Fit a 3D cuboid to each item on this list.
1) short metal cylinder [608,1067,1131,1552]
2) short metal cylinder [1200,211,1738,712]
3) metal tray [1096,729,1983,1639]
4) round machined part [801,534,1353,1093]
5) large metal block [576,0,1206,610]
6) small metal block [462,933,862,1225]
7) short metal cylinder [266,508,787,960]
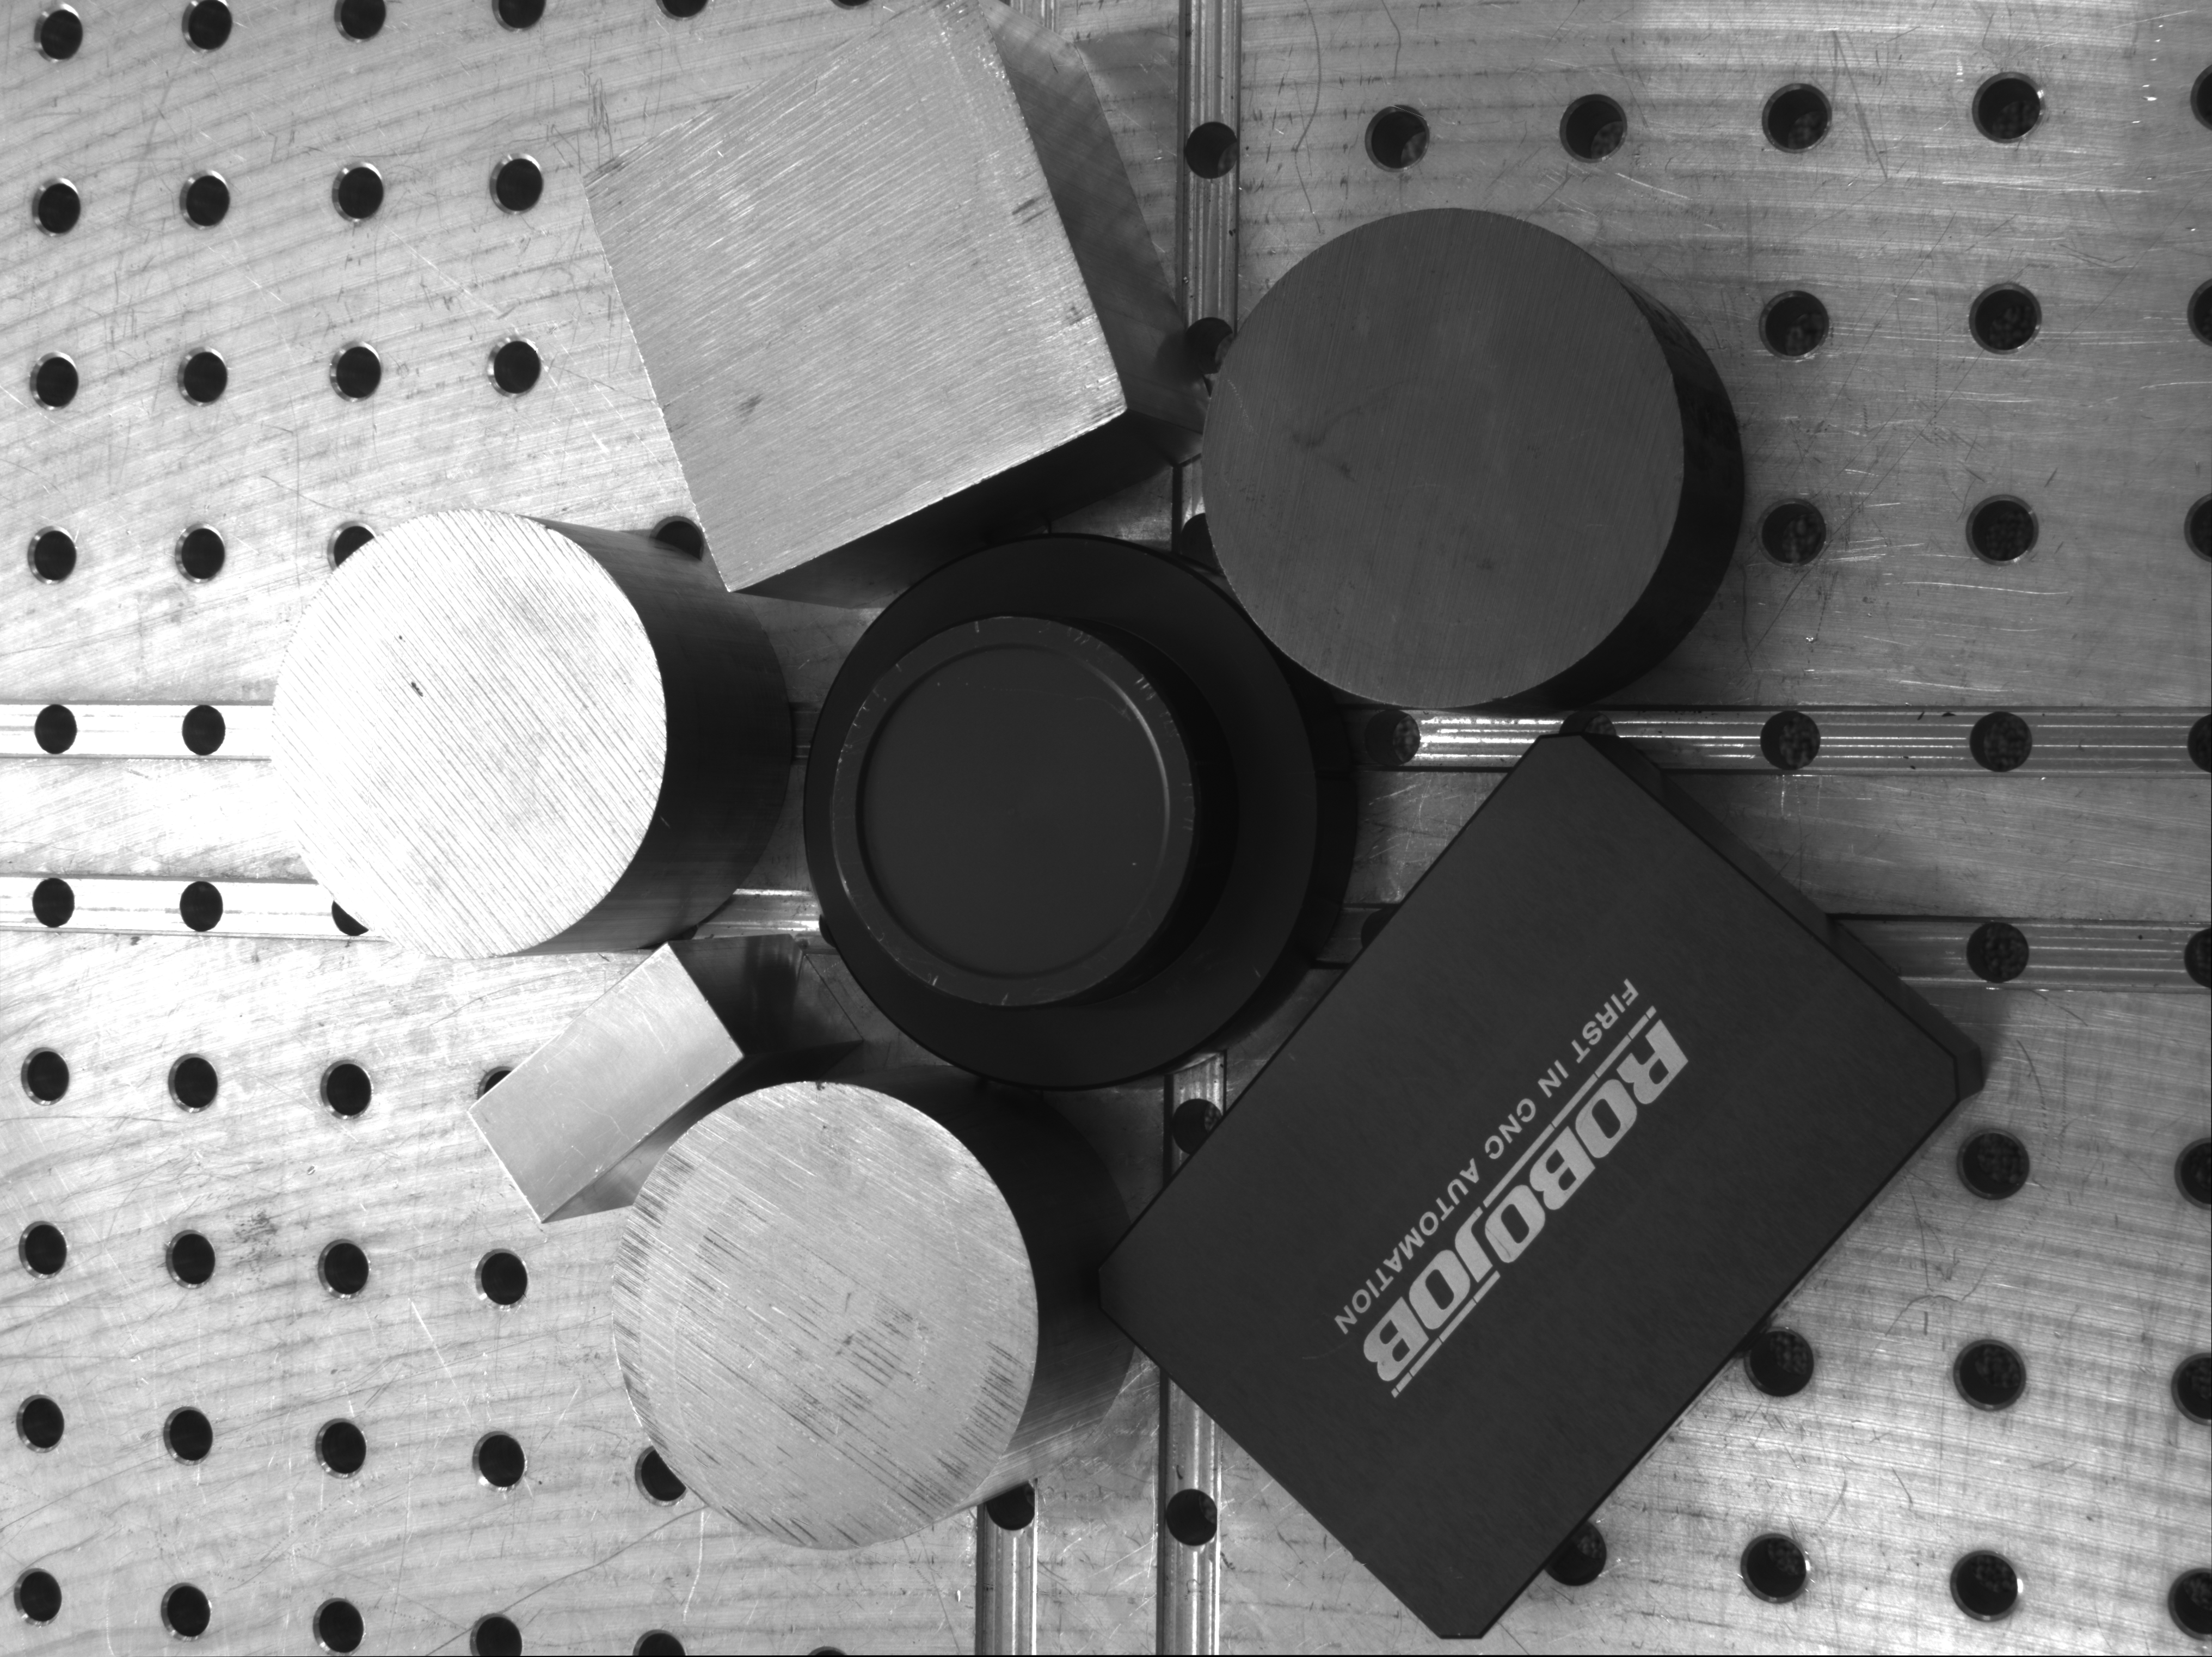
[{"bbox_3d":[-0.041,0.083,0.649,0.080,0.050,0.080,0,90,20],"label":"short metal cylinder"},{"bbox_3d":[0.062,-0.059,0.613,0.080,0.050,0.080,0,90,20],"label":"short metal cylinder"},{"bbox_3d":[0.072,0.059,0.619,0.090,0.030,0.130,42,103,16],"label":"metal tray"},{"bbox_3d":[-0.009,-0.003,0.642,0.098,0.042,0.098,0,90,20],"label":"round machined part"},{"bbox_3d":[-0.036,-0.092,0.649,0.080,0.050,0.080,-23,82,19],"label":"large metal block"},{"bbox_3d":[-0.079,0.045,0.663,0.050,0.050,0.025,-39,77,16],"label":"small metal block"},{"bbox_3d":[-0.106,-0.017,0.673,0.080,0.050,0.080,0,90,20],"label":"short metal cylinder"}]
